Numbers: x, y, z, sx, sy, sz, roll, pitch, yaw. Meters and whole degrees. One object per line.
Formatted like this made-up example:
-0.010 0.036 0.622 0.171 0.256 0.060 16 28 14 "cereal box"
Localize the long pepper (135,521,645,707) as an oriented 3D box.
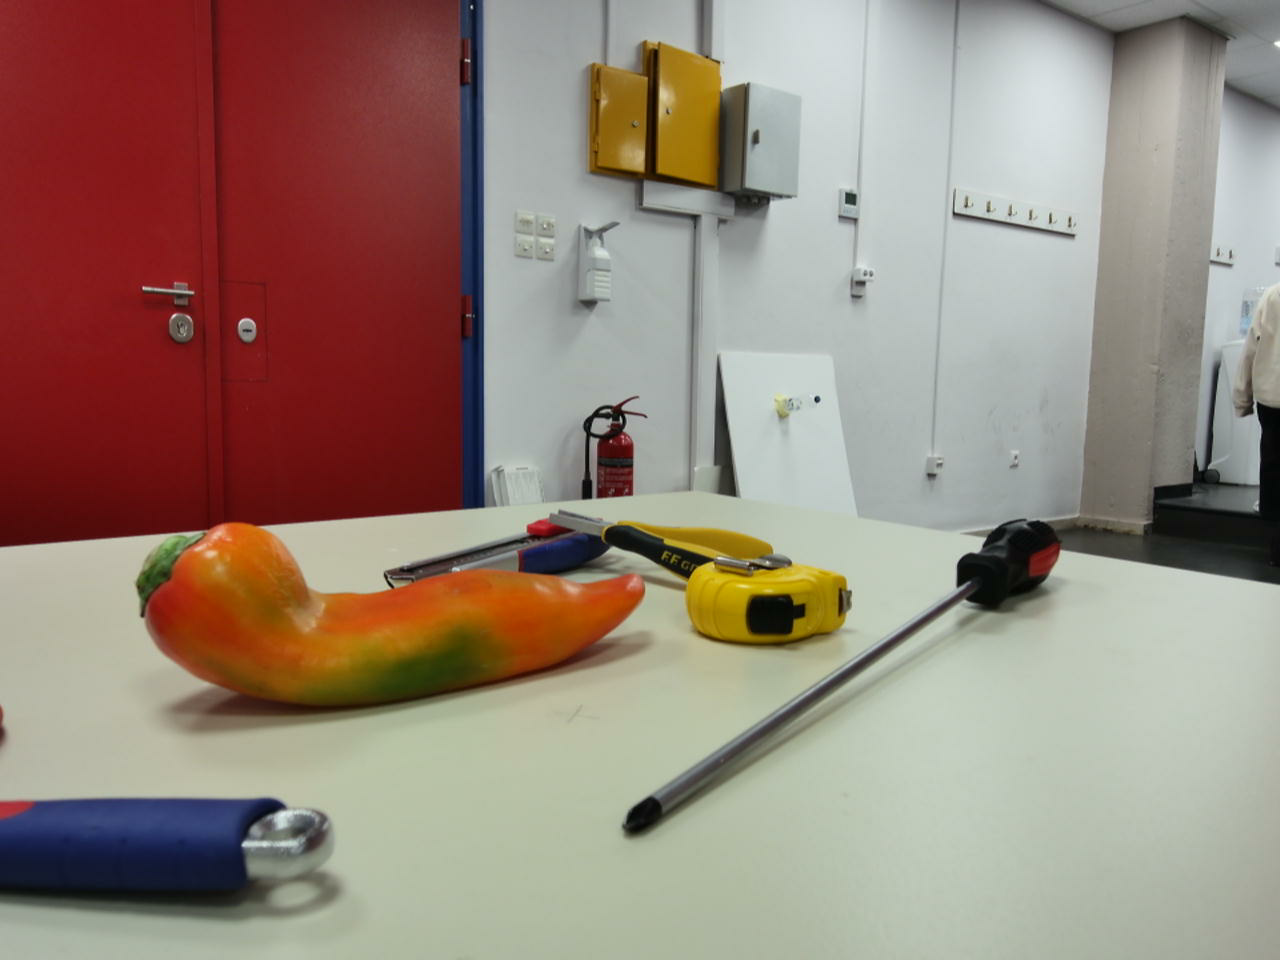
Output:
-0.079 0.044 0.379 0.199 0.065 0.066 -3 4 -33 "long pepper"
